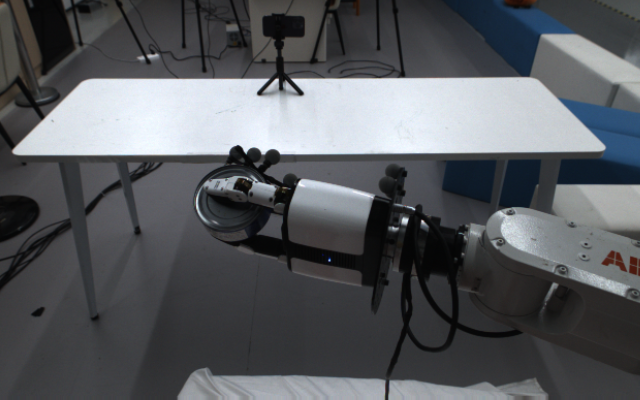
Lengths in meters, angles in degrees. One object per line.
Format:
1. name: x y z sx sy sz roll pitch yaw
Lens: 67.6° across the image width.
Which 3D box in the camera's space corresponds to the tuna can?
1. tuna can: -0.099 0.003 0.558 0.085 0.034 0.085 -2 60 3
